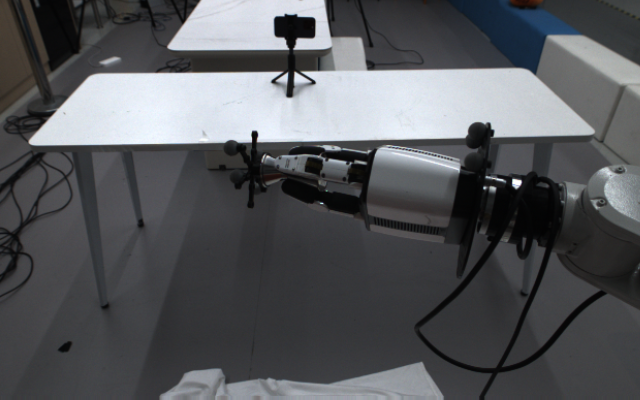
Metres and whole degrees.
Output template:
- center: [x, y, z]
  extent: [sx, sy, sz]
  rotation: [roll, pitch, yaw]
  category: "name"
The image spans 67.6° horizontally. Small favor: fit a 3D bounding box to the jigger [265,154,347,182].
- center: [-0.021, -0.037, 0.546]
  extent: [0.071, 0.043, 0.043]
  rotation: [2, 34, 16]
  category: "jigger"
